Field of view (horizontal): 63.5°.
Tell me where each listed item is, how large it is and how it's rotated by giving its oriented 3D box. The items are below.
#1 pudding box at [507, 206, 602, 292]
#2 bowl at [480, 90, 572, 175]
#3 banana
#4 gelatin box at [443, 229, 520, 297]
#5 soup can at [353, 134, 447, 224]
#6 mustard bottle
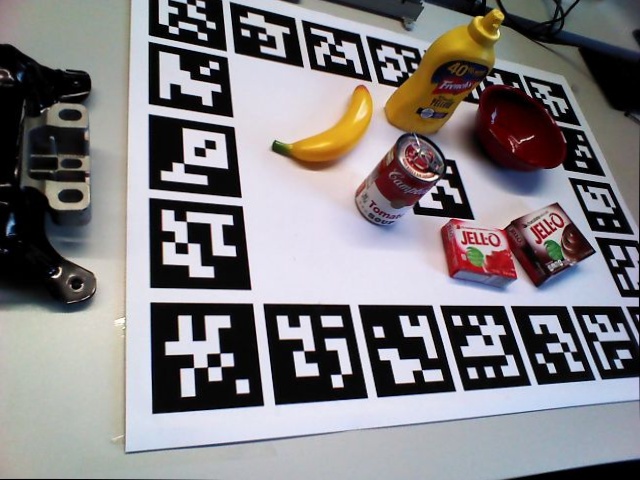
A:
[{"bbox_3d":[0.327,0.011,0.722,0.113,0.039,0.090,-21,78,-34],"label":"pudding box"},{"bbox_3d":[0.308,-0.156,0.807,0.161,0.055,0.160,11,57,-18],"label":"bowl"},{"bbox_3d":[0.020,-0.153,0.673,0.074,0.039,0.196,33,52,9],"label":"banana"},{"bbox_3d":[0.205,0.029,0.658,0.089,0.030,0.073,10,61,-20],"label":"gelatin box"},{"bbox_3d":[0.090,-0.072,0.606,0.068,0.103,0.067,14,54,-20],"label":"soup can"},{"bbox_3d":[0.182,-0.221,0.681,0.096,0.193,0.058,4,57,-24],"label":"mustard bottle"}]
